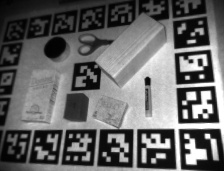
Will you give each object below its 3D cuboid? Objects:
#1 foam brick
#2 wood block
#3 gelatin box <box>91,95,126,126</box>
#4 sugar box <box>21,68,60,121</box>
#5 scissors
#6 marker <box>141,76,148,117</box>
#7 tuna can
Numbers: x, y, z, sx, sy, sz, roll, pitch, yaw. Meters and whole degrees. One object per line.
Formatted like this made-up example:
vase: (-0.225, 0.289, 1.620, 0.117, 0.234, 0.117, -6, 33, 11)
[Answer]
foam brick: (-0.112, 0.068, 0.675, 0.052, 0.052, 0.078, -2, 73, 18)
wood block: (0.057, -0.104, 0.664, 0.206, 0.092, 0.089, -46, 64, -2)
gelatin box: (-0.010, 0.075, 0.657, 0.088, 0.030, 0.073, 16, 79, 22)
sugar box: (-0.242, 0.029, 0.737, 0.092, 0.046, 0.176, 2, 73, 17)
scissors: (-0.041, -0.147, 0.746, 0.201, 0.016, 0.087, 4, 74, 21)
marker: (0.097, 0.031, 0.641, 0.019, 0.020, 0.121, -2, 75, 18)
tuna can: (-0.210, -0.133, 0.781, 0.085, 0.034, 0.085, -5, 72, 16)
